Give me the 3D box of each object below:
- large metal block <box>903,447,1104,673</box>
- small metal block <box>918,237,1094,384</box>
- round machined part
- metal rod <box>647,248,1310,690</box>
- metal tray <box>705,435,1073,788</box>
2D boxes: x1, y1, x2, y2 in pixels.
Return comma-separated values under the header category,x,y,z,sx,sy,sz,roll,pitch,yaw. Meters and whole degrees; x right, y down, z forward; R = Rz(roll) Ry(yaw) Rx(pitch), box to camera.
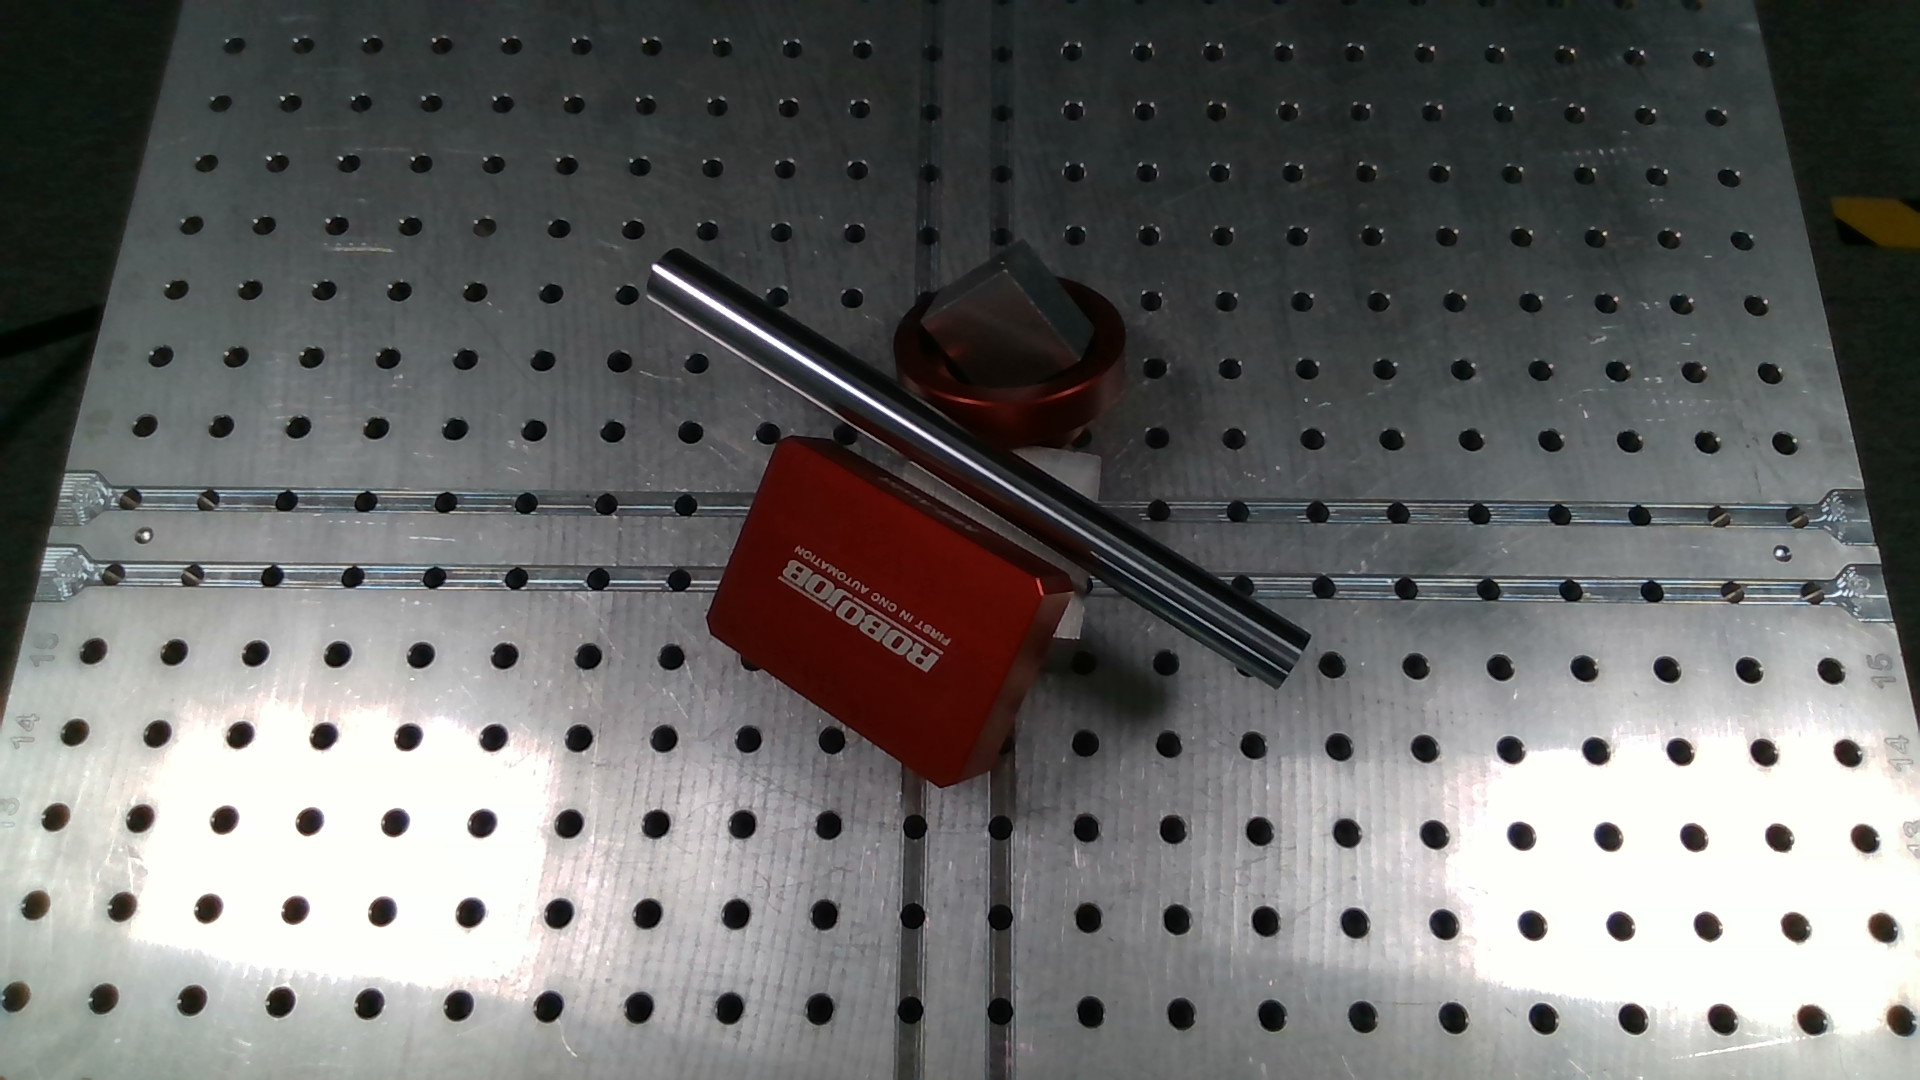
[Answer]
category,x,y,z,sx,sy,sz,roll,pitch,yaw
large metal block,0.013,0.005,0.575,0.080,0.050,0.080,8,70,3
small metal block,0.020,-0.091,0.580,0.050,0.050,0.025,48,43,-21
round machined part,0.021,-0.072,0.593,0.098,0.042,0.098,-2,45,2
metal rod,0.001,-0.032,0.549,0.300,0.025,0.025,32,73,11
metal tray,-0.031,0.026,0.543,0.130,0.030,0.090,30,105,24
